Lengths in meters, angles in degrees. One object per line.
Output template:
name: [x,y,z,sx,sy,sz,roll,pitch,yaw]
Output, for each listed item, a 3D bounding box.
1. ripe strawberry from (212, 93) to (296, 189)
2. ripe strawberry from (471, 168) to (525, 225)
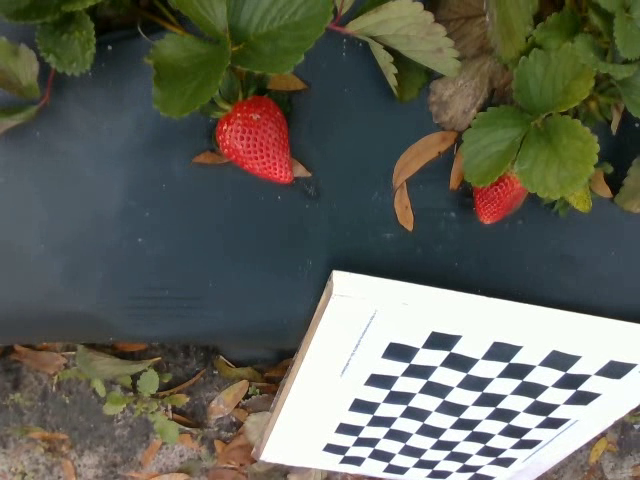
ripe strawberry: [-0.034,-0.054,0.376,0.042,0.065,0.047,-23,-24,-35]
ripe strawberry: [0.114,-0.024,0.408,0.040,0.042,0.037,17,-1,-18]
